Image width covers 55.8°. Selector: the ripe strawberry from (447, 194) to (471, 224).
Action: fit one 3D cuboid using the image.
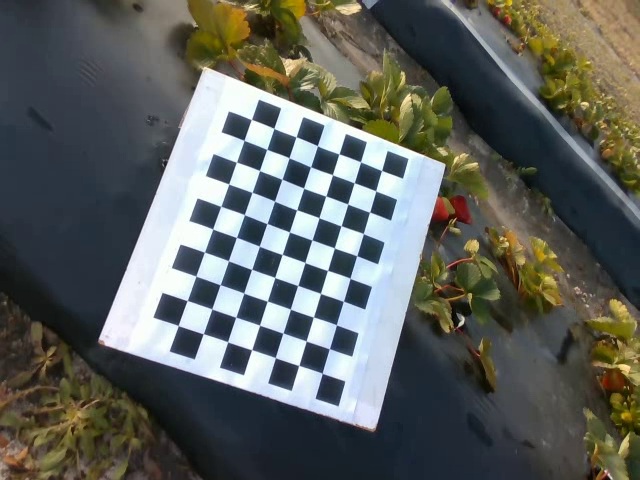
[{"bbox_3d":[0.244,-0.049,1.030,0.048,0.065,0.050,-30,-6,-16],"label":"ripe strawberry"}]
